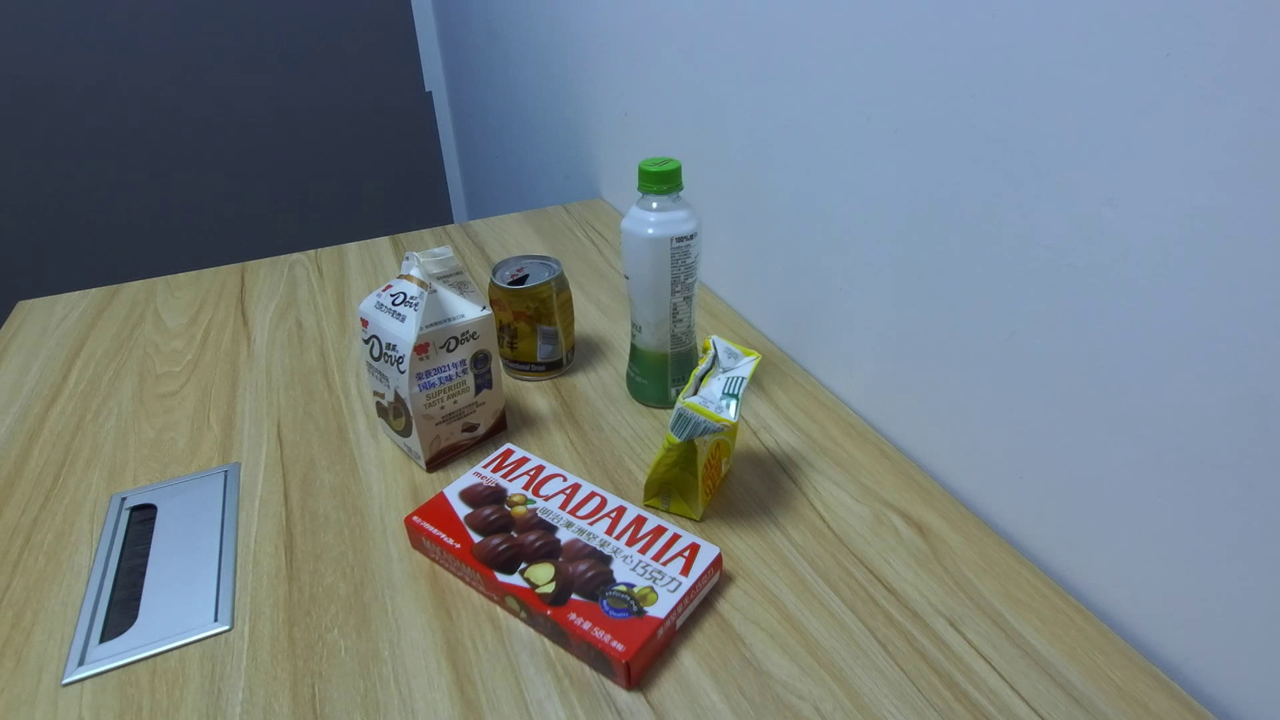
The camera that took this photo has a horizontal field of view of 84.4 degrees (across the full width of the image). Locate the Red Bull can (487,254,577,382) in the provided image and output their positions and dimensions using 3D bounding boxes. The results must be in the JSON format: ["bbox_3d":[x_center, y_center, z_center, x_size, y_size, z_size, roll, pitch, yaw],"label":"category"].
[{"bbox_3d":[-0.093,-0.038,0.607,0.072,0.092,0.072,-1,34,1],"label":"Red Bull can"}]

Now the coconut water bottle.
[{"bbox_3d":[0.017,-0.055,0.537,0.063,0.189,0.063,-2,30,1],"label":"coconut water bottle"}]

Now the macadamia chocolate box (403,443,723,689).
[{"bbox_3d":[-0.049,0.115,0.432,0.177,0.027,0.096,21,39,31],"label":"macadamia chocolate box"}]

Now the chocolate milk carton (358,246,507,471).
[{"bbox_3d":[-0.152,-0.010,0.511,0.074,0.156,0.076,-26,39,-35],"label":"chocolate milk carton"}]

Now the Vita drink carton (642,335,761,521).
[{"bbox_3d":[0.041,0.046,0.455,0.042,0.108,0.087,24,42,14],"label":"Vita drink carton"}]
